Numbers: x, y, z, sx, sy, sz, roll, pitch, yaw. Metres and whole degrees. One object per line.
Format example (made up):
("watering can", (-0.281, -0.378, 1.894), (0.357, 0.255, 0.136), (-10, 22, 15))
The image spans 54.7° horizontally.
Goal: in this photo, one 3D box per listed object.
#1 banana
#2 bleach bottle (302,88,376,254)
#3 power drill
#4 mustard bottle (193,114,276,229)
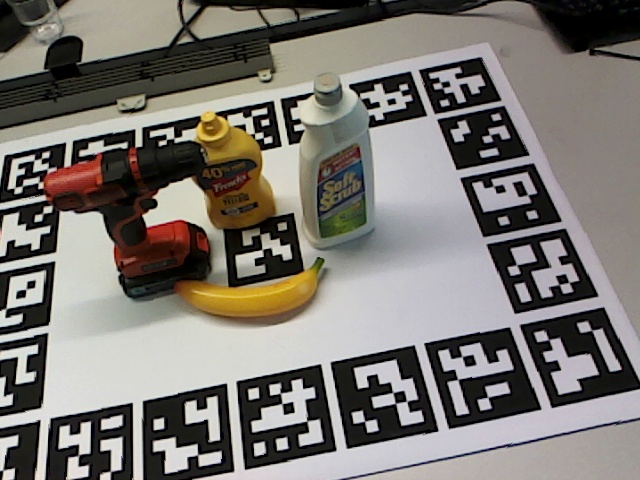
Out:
("banana", (-0.081, 0.065, 0.786), (0.197, 0.038, 0.074), (-10, 60, 3))
("bleach bottle", (0.017, -0.081, 0.754), (0.102, 0.250, 0.068), (-19, 58, -5))
("power drill", (-0.209, -0.031, 0.755), (0.184, 0.186, 0.057), (-13, 49, -4))
("mustard bottle", (-0.118, -0.091, 0.804), (0.096, 0.191, 0.058), (-11, 56, -1))
